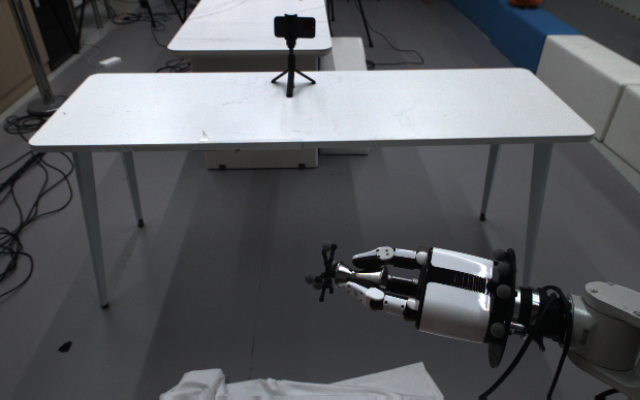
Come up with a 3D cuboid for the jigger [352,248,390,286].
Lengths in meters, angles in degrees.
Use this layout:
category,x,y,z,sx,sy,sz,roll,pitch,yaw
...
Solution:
category,x,y,z,sx,sy,sz,roll,pitch,yaw
jigger,0.068,0.104,0.697,0.071,0.043,0.043,5,34,21
